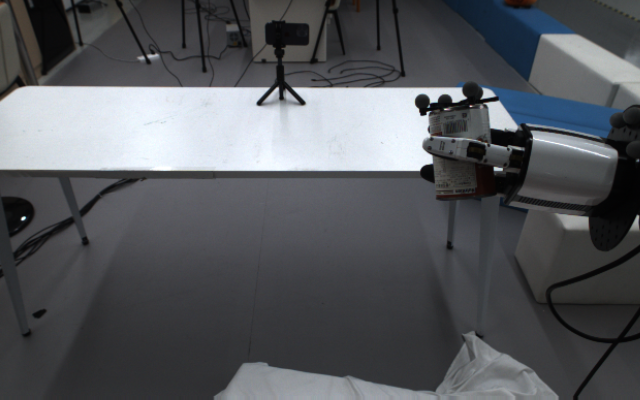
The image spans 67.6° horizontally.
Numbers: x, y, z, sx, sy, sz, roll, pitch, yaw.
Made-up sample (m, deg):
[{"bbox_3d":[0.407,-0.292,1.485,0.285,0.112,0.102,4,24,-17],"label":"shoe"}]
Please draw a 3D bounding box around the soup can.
[{"bbox_3d":[0.165,-0.055,0.557,0.067,0.101,0.067,-6,3,0],"label":"soup can"}]
